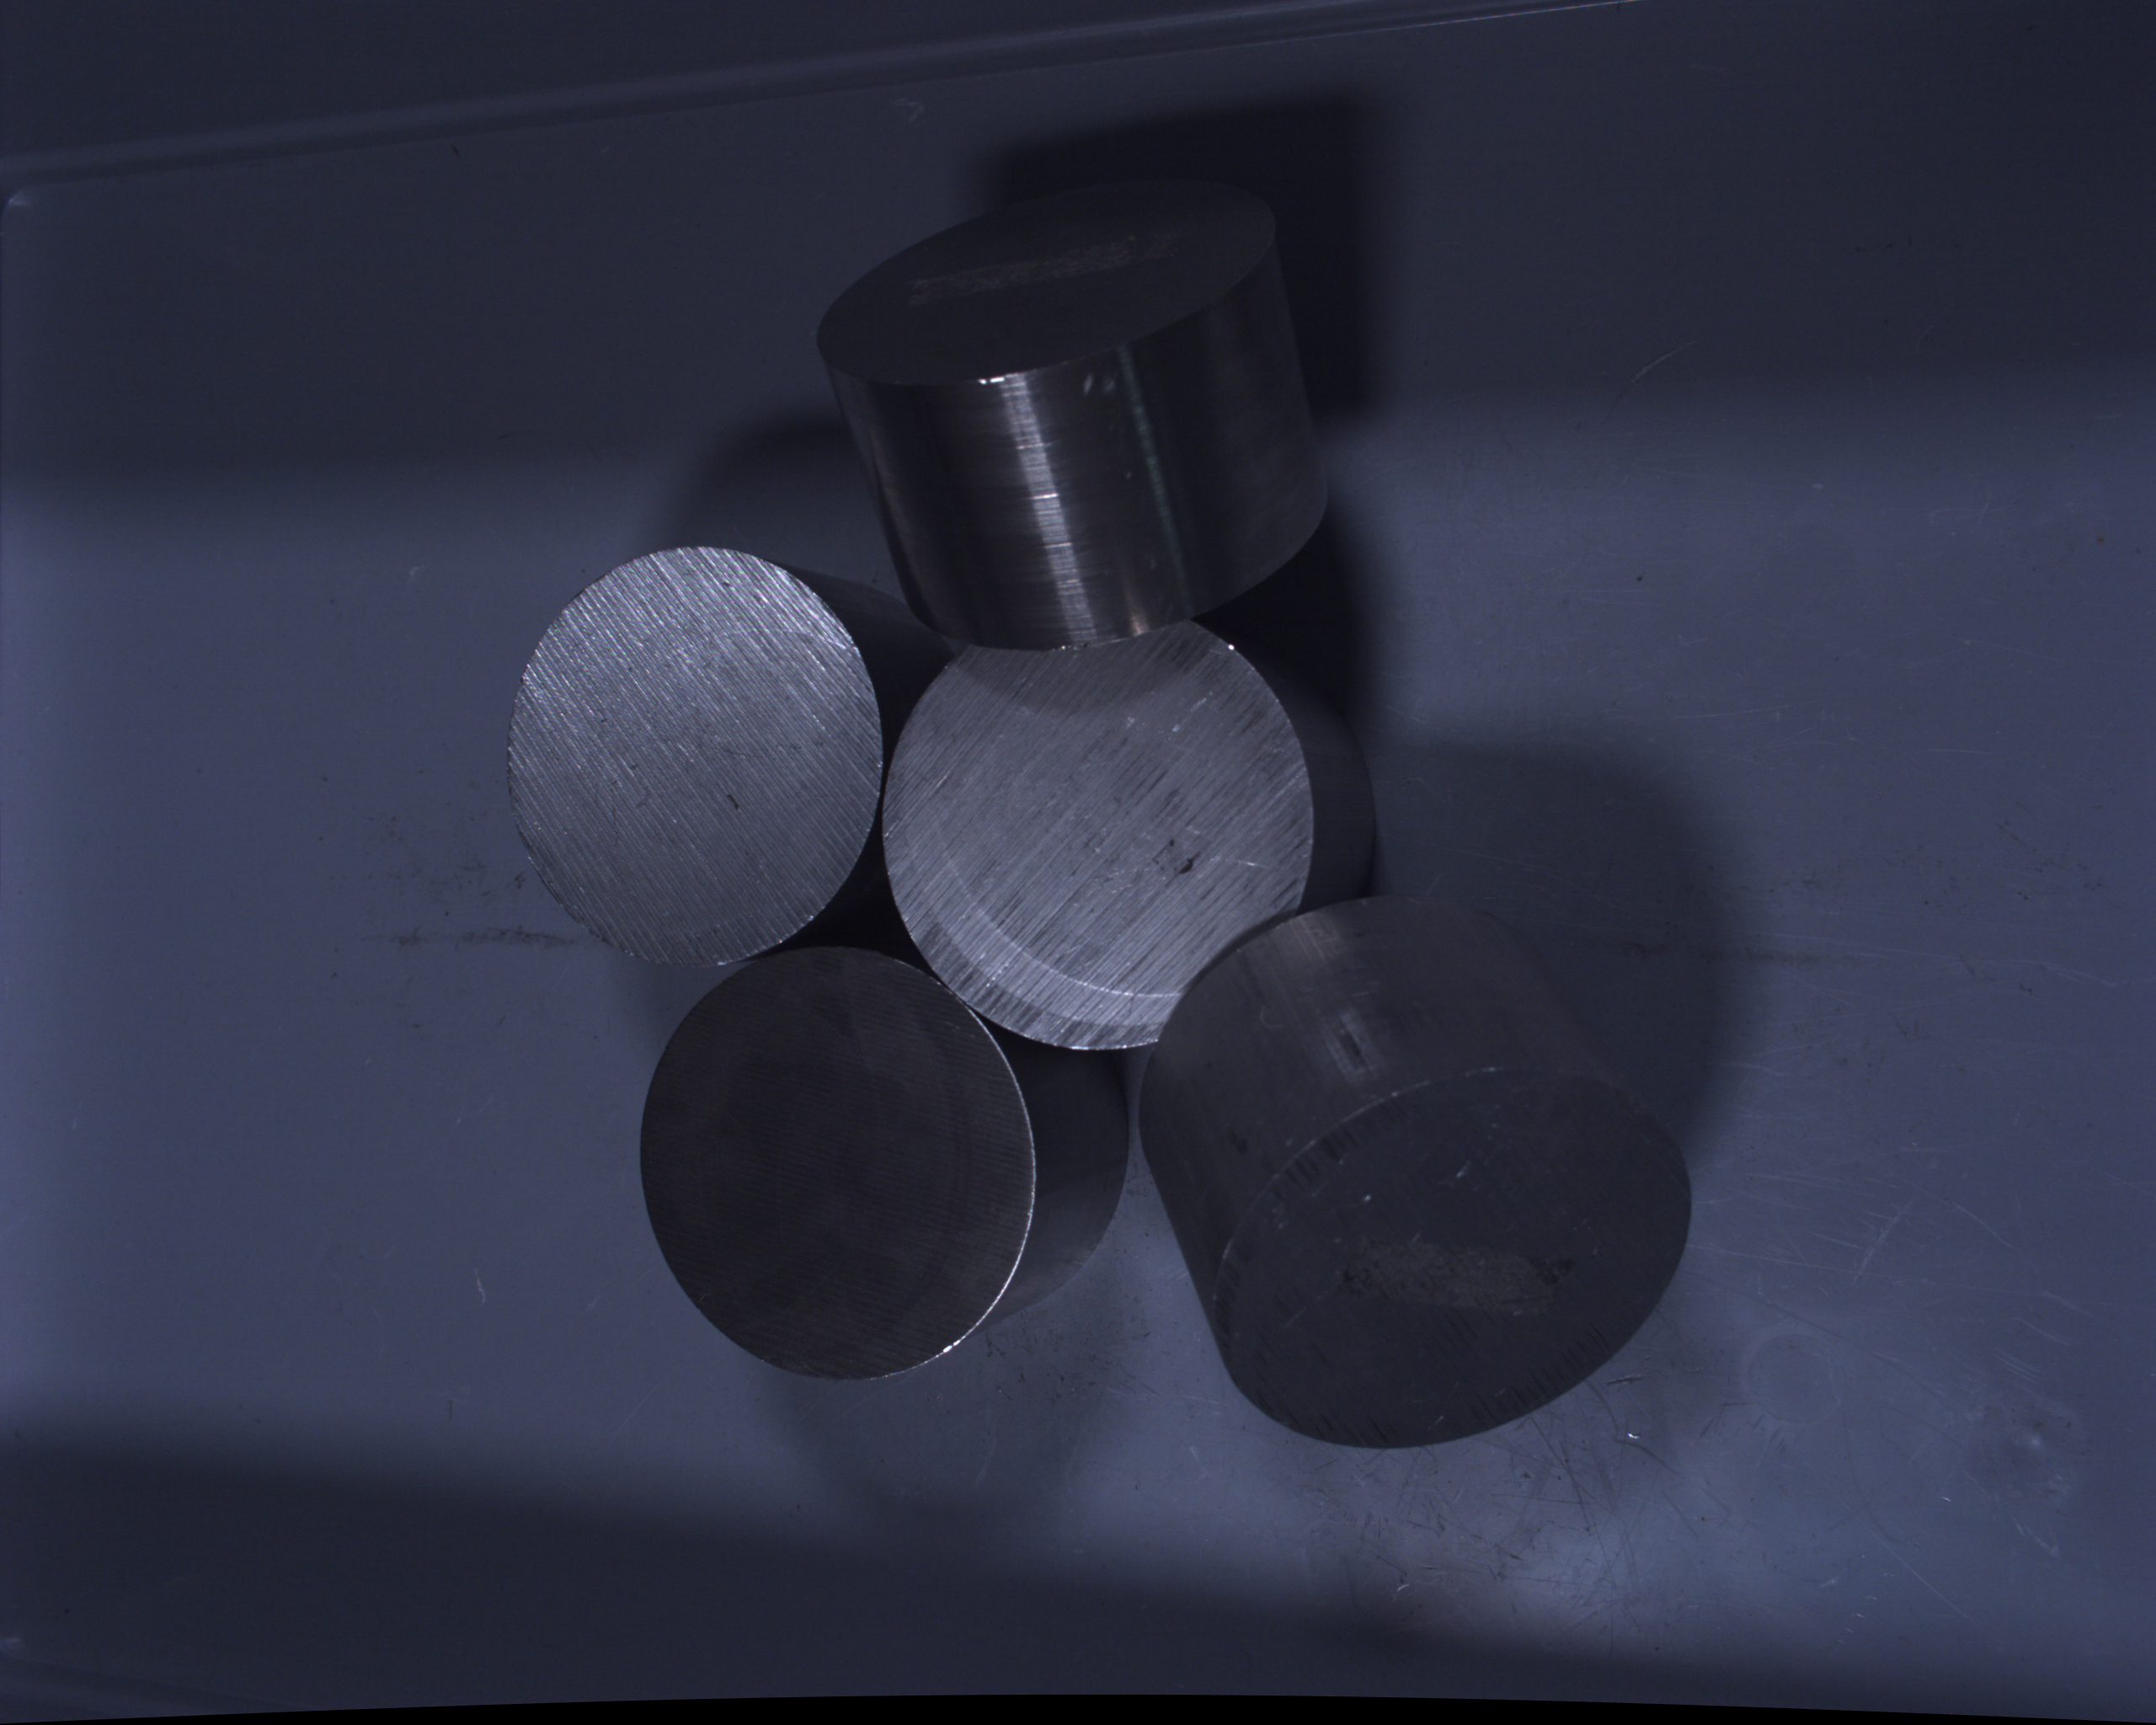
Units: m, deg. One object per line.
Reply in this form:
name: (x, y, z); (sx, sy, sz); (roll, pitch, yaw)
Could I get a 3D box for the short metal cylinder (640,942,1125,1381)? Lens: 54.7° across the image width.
short metal cylinder: (-0.037, 0.055, 0.407); (0.080, 0.050, 0.079); (0, 90, 19)

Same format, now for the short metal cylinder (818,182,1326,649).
short metal cylinder: (0.000, -0.081, 0.371); (0.080, 0.080, 0.050); (-3, 127, 19)

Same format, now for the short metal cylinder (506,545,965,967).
short metal cylinder: (-0.065, -0.020, 0.417); (0.080, 0.050, 0.079); (0, 90, 19)

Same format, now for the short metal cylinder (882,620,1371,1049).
short metal cylinder: (0.011, -0.007, 0.391); (0.080, 0.050, 0.079); (0, 90, 19)

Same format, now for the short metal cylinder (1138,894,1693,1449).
short metal cylinder: (0.055, 0.052, 0.354); (0.081, 0.050, 0.079); (-7, 122, -11)
